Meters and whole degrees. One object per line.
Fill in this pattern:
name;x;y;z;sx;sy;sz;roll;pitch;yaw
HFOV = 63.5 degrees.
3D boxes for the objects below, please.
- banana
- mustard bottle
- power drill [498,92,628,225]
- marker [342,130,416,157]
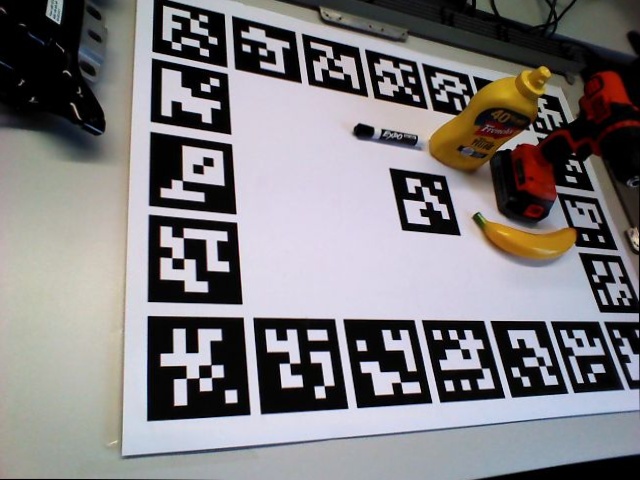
banana;0.308;0.019;0.794;0.197;0.039;0.074;12;64;-18
mustard bottle;0.240;-0.160;0.750;0.096;0.193;0.058;16;61;-19
power drill;0.348;-0.098;0.752;0.057;0.188;0.183;19;57;-19
marker;0.089;-0.145;0.776;0.121;0.020;0.019;7;65;-22
